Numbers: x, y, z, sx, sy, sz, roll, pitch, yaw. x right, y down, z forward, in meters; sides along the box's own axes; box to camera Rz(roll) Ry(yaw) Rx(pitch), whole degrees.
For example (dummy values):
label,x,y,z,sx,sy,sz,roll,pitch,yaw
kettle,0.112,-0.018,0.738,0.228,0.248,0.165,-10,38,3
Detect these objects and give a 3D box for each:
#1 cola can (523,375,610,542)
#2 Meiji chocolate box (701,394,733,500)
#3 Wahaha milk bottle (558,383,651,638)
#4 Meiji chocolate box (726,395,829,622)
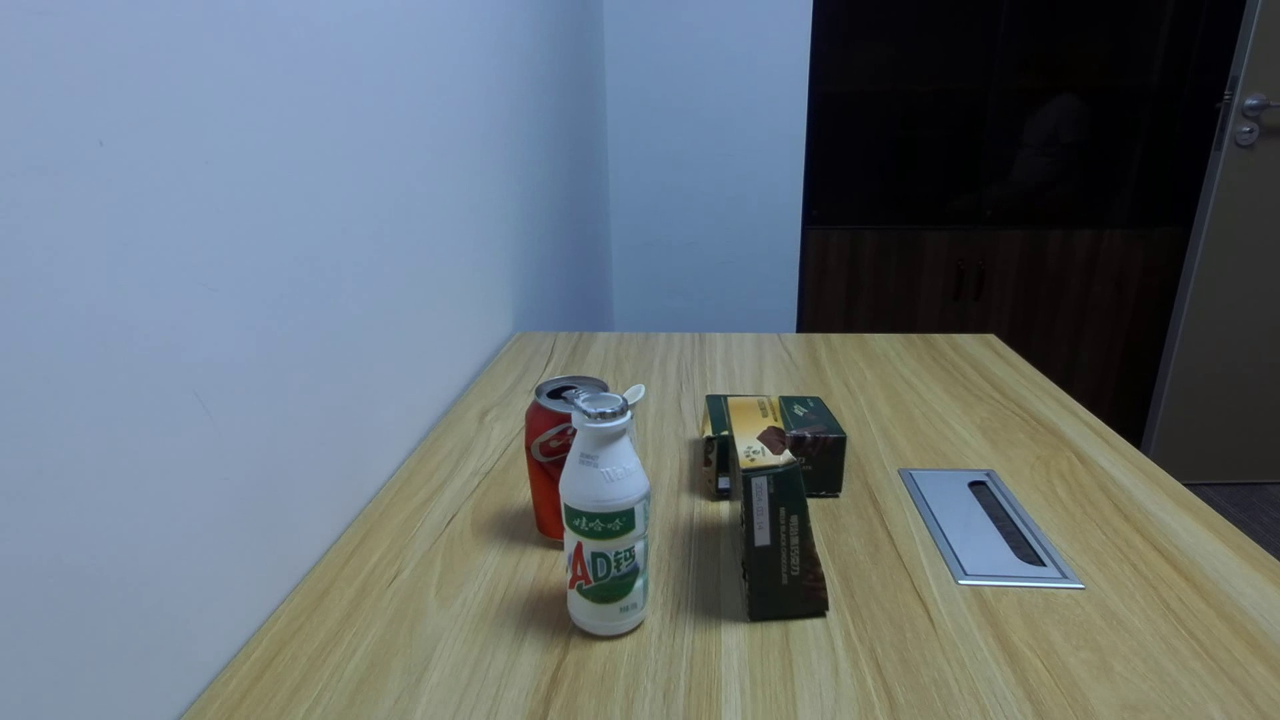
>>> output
label,x,y,z,sx,sy,sz,roll,pitch,yaw
cola can,-0.047,0.074,0.533,0.072,0.117,0.065,-3,17,-9
Meiji chocolate box,0.116,0.081,0.621,0.122,0.058,0.116,-6,12,4
Wahaha milk bottle,-0.020,0.092,0.424,0.056,0.148,0.056,-2,19,1
Meiji chocolate box,0.085,0.093,0.471,0.051,0.117,0.117,-8,18,3
